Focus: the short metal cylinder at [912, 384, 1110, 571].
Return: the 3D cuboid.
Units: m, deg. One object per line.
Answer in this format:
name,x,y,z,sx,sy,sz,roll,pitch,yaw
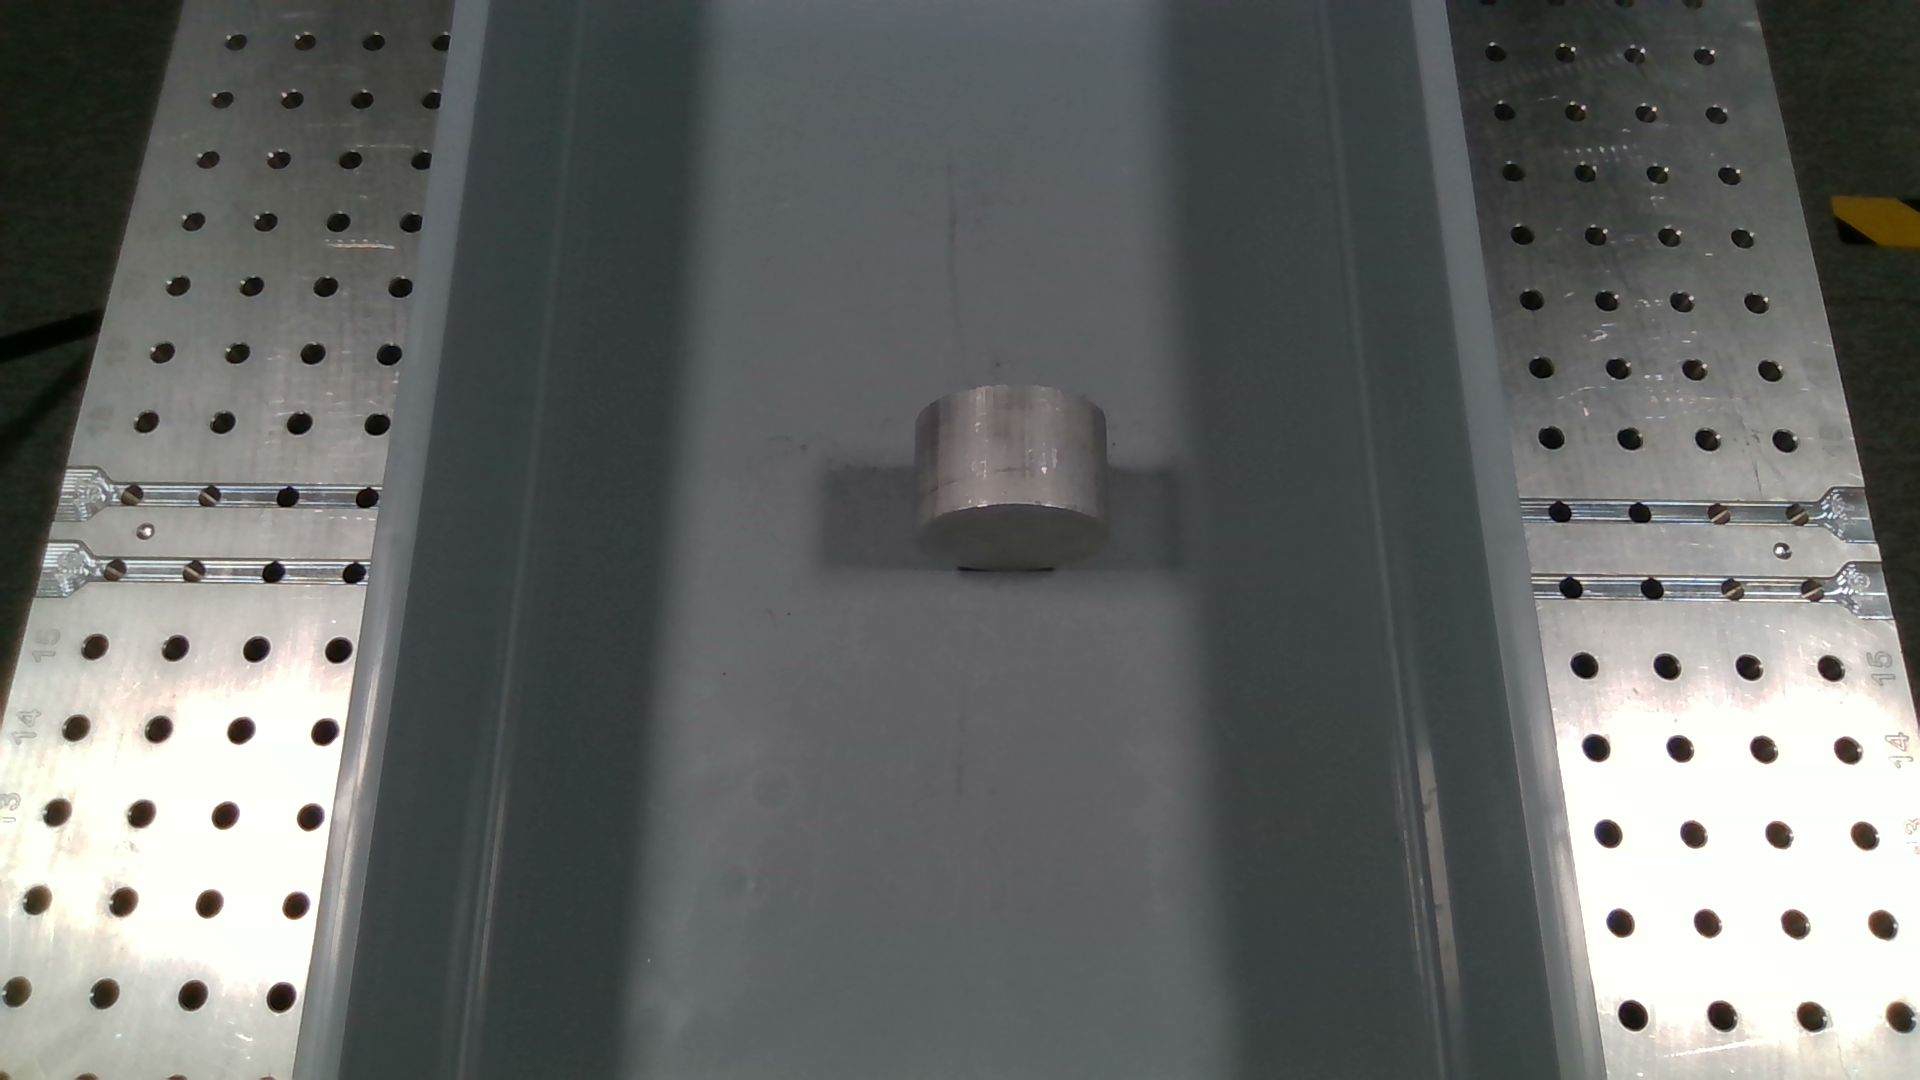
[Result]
short metal cylinder,0.021,-0.024,0.565,0.080,0.080,0.050,0,70,0
